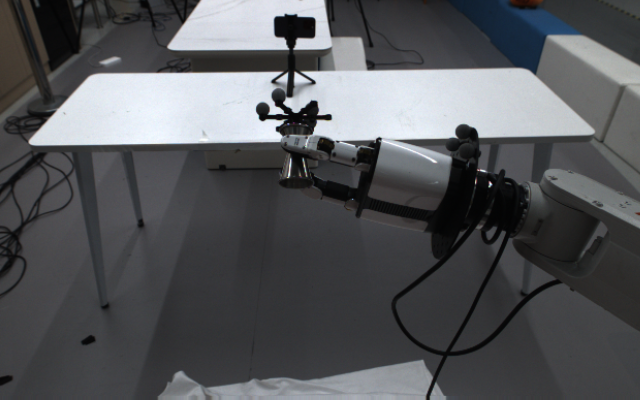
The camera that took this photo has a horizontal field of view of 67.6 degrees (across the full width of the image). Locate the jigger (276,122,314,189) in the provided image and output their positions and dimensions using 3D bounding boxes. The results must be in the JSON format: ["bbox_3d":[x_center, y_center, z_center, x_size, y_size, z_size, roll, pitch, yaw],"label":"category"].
[{"bbox_3d":[-0.028,-0.053,0.574,0.043,0.043,0.071,0,75,-3],"label":"jigger"}]
